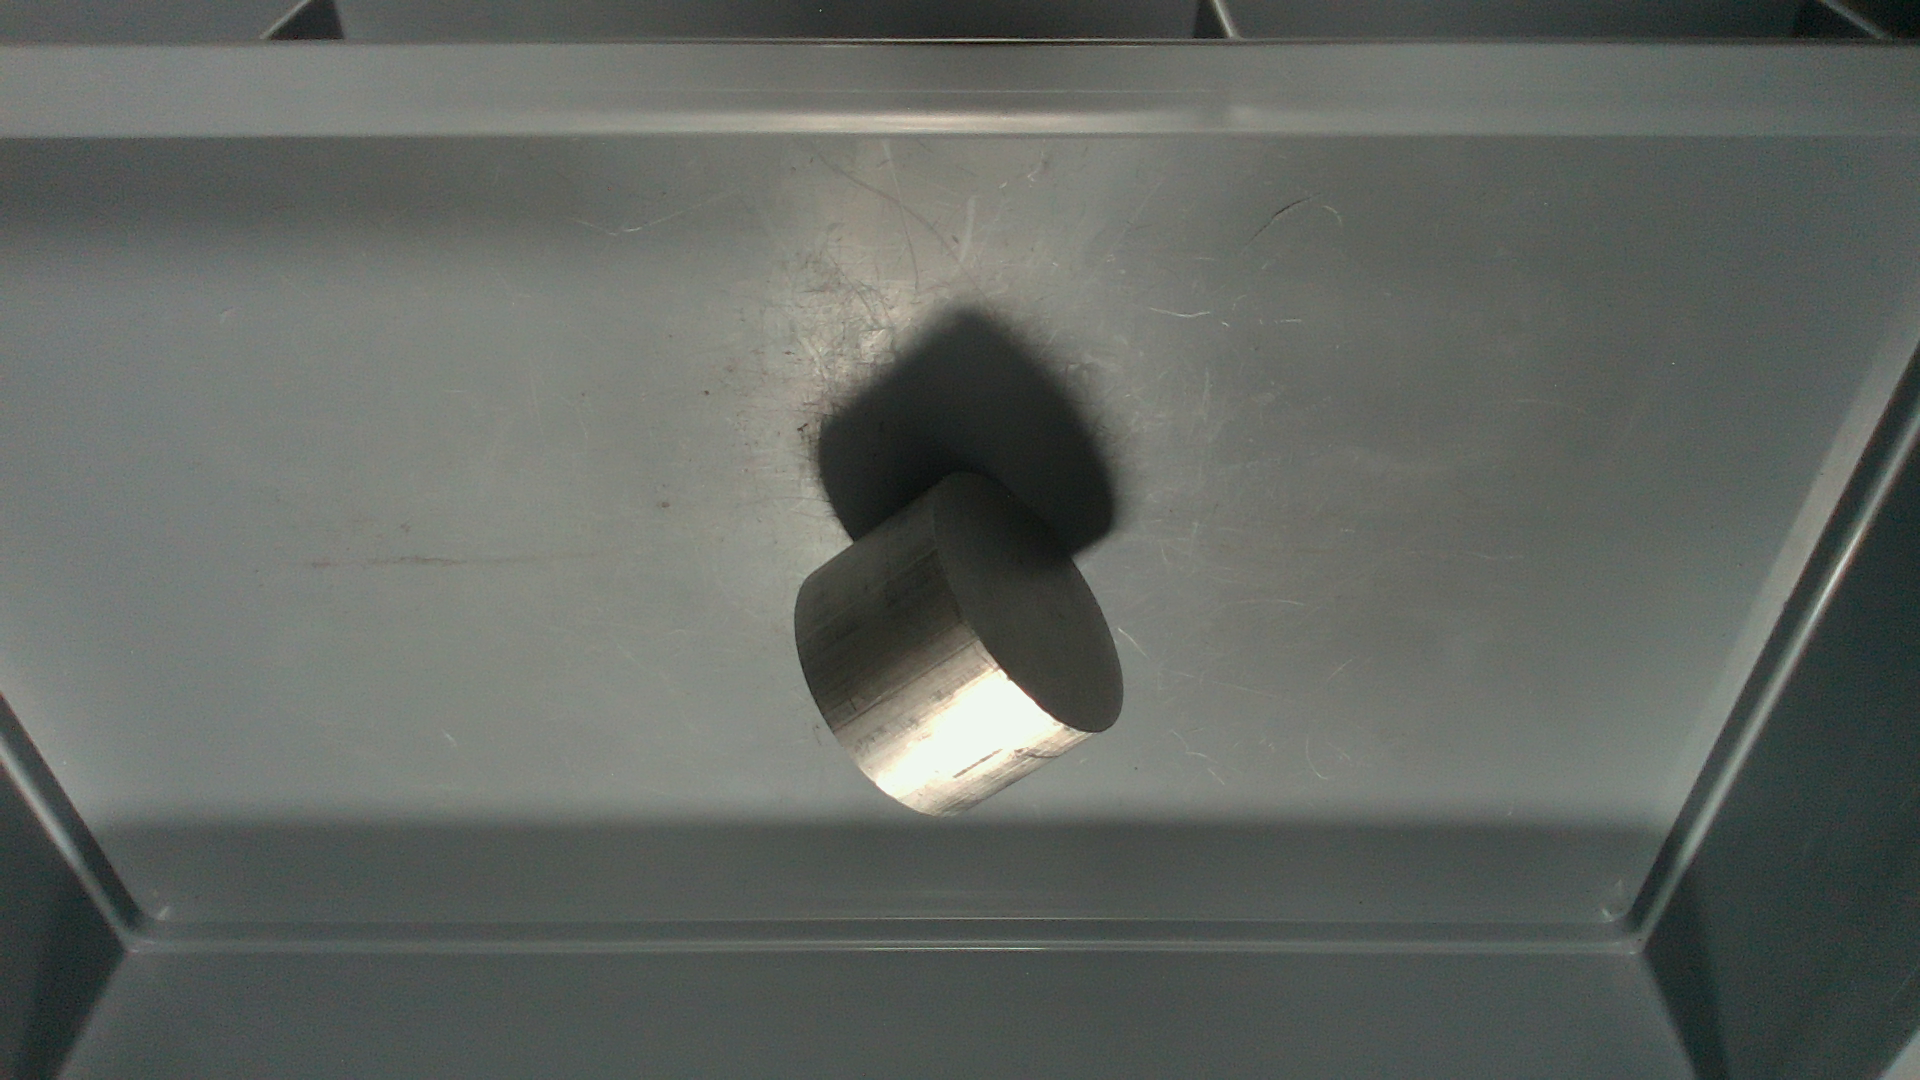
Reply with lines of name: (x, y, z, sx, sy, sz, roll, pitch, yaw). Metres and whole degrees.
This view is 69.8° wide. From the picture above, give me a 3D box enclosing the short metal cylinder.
short metal cylinder: (0.001, 0.028, 0.376, 0.050, 0.080, 0.080, -34, 122, 25)
